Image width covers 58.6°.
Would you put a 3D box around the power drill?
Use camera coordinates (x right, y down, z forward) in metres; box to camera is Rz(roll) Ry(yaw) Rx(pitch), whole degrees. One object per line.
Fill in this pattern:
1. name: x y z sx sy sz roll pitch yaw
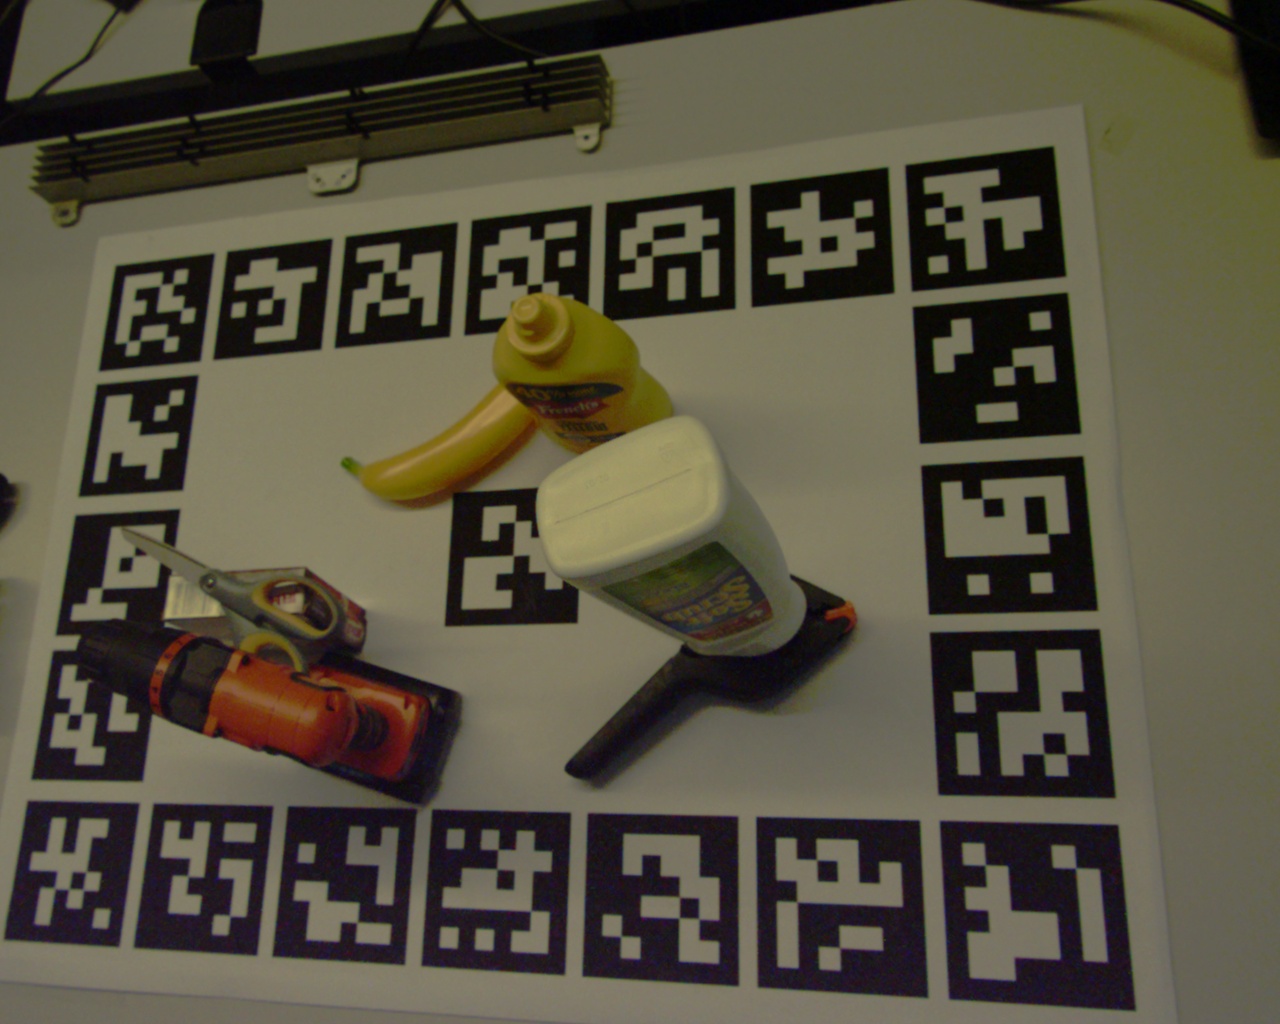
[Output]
1. power drill: -0.240 0.129 0.742 0.186 0.185 0.057 10 70 21

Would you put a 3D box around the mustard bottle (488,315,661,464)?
1. mustard bottle: -0.051 -0.086 0.786 0.097 0.190 0.058 11 77 17

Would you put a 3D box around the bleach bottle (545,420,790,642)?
1. bleach bottle: 0.041 0.030 0.675 0.103 0.248 0.068 -24 65 15

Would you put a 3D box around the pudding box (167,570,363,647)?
1. pudding box: -0.277 0.072 0.852 0.115 0.089 0.039 1 68 15

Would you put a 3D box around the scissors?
1. scissors: -0.301 0.048 0.797 0.204 0.016 0.087 23 85 16

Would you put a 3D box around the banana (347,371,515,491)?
1. banana: -0.140 -0.076 0.878 0.197 0.038 0.075 -41 51 2

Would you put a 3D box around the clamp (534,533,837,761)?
1. clamp: 0.032 0.075 0.776 0.204 0.036 0.166 -10 74 12
